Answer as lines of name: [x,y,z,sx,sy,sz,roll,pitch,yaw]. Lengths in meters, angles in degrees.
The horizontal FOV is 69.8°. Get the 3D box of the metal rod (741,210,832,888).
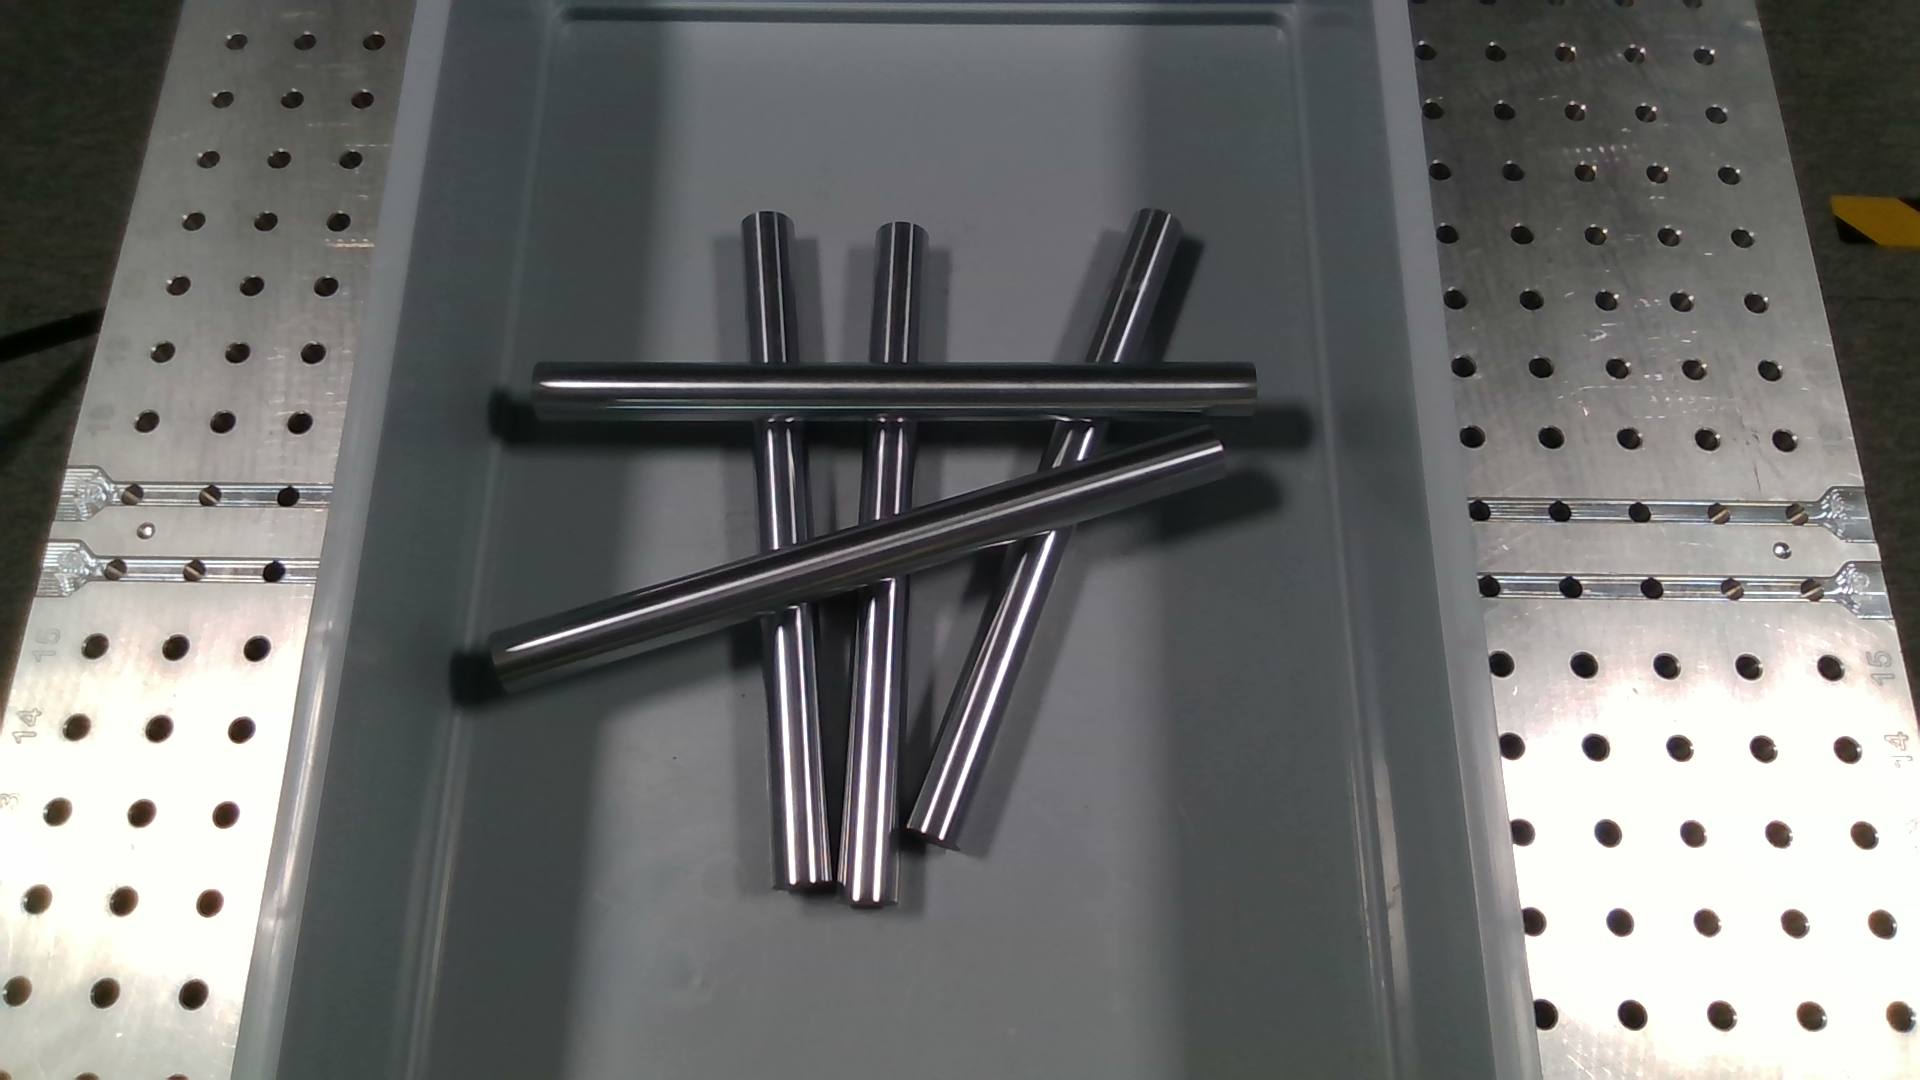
metal rod: [-0.076,-0.006,0.589,0.025,0.025,0.299,-5,70,-2]

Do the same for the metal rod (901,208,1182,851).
metal rod: [0.040,-0.014,0.591,0.025,0.025,0.299,19,71,7]

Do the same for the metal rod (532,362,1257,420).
metal rod: [-0.027,-0.063,0.582,0.300,0.025,0.025,0,70,0]

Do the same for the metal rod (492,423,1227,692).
metal rod: [-0.037,0.006,0.558,0.300,0.025,0.025,-17,71,-6]

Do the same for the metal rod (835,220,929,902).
metal rod: [-0.032,0.000,0.587,0.025,0.025,0.299,2,70,1]
